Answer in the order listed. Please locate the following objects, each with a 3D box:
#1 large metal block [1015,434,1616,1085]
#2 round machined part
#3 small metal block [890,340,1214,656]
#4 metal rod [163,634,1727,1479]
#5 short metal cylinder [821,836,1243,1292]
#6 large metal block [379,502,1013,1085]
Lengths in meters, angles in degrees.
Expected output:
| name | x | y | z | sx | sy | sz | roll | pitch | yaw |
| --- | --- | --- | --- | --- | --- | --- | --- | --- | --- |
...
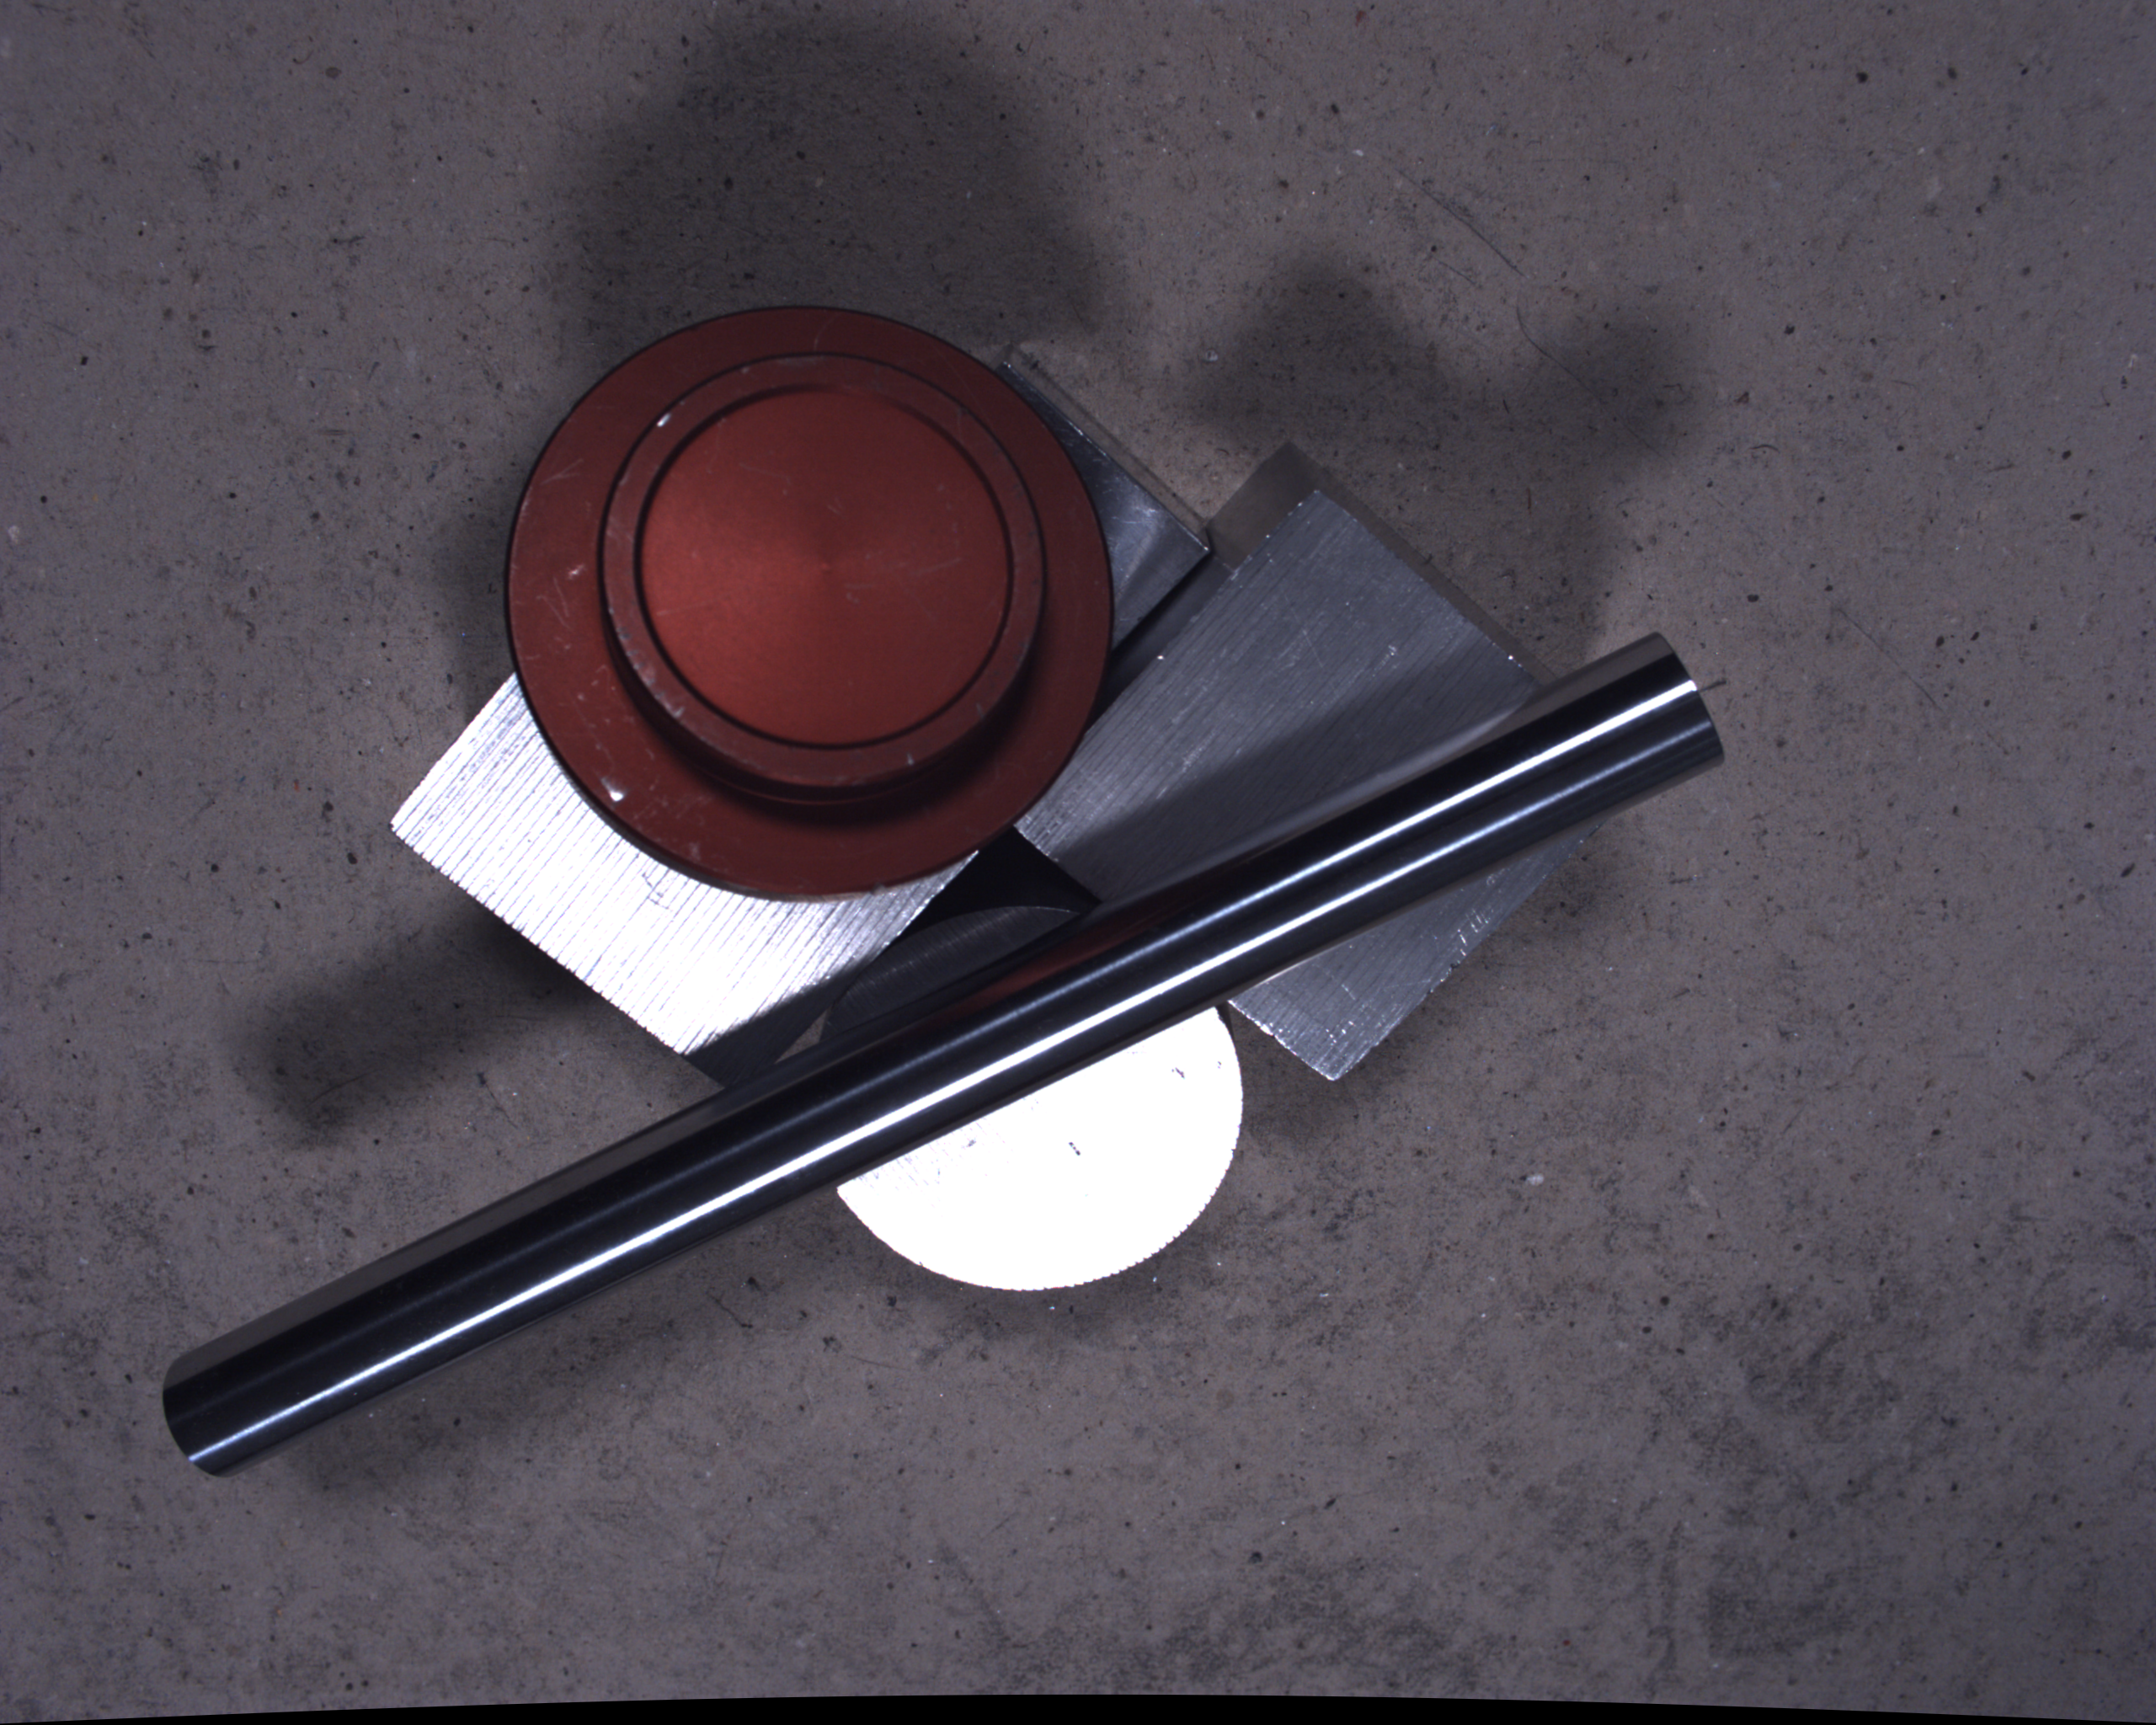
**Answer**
| name | x | y | z | sx | sy | sz | roll | pitch | yaw |
| --- | --- | --- | --- | --- | --- | --- | --- | --- | --- |
| large metal block | 0.043 | -0.020 | 0.391 | 0.080 | 0.050 | 0.080 | 40 | 105 | -14 |
| round machined part | -0.042 | -0.043 | 0.338 | 0.099 | 0.042 | 0.097 | 1 | 84 | -12 |
| small metal block | -0.011 | -0.060 | 0.388 | 0.050 | 0.025 | 0.050 | 41 | 105 | -14 |
| metal rod | -0.031 | 0.039 | 0.371 | 0.301 | 0.025 | 0.025 | -26 | 108 | 9 |
| short metal cylinder | -0.010 | 0.037 | 0.410 | 0.081 | 0.050 | 0.079 | 0 | 110 | -1 |
| large metal block | -0.066 | -0.018 | 0.389 | 0.080 | 0.050 | 0.080 | 40 | 105 | -14 |
